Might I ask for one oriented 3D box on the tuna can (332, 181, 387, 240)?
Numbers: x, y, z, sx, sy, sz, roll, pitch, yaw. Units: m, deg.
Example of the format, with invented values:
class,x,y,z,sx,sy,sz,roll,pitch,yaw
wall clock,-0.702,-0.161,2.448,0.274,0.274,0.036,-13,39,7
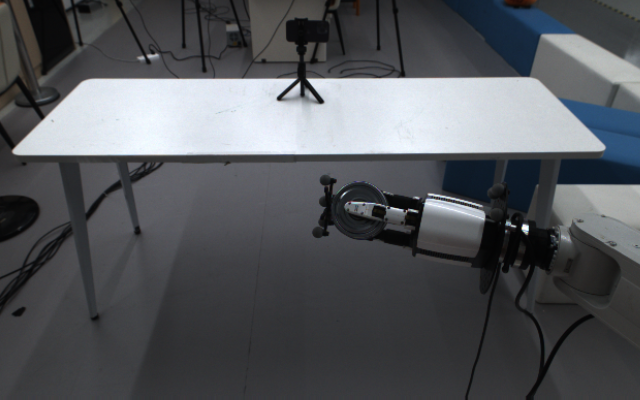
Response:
class,x,y,z,sx,sy,sz,roll,pitch,yaw
tuna can,0.063,0.018,0.714,0.085,0.085,0.034,9,-6,10
